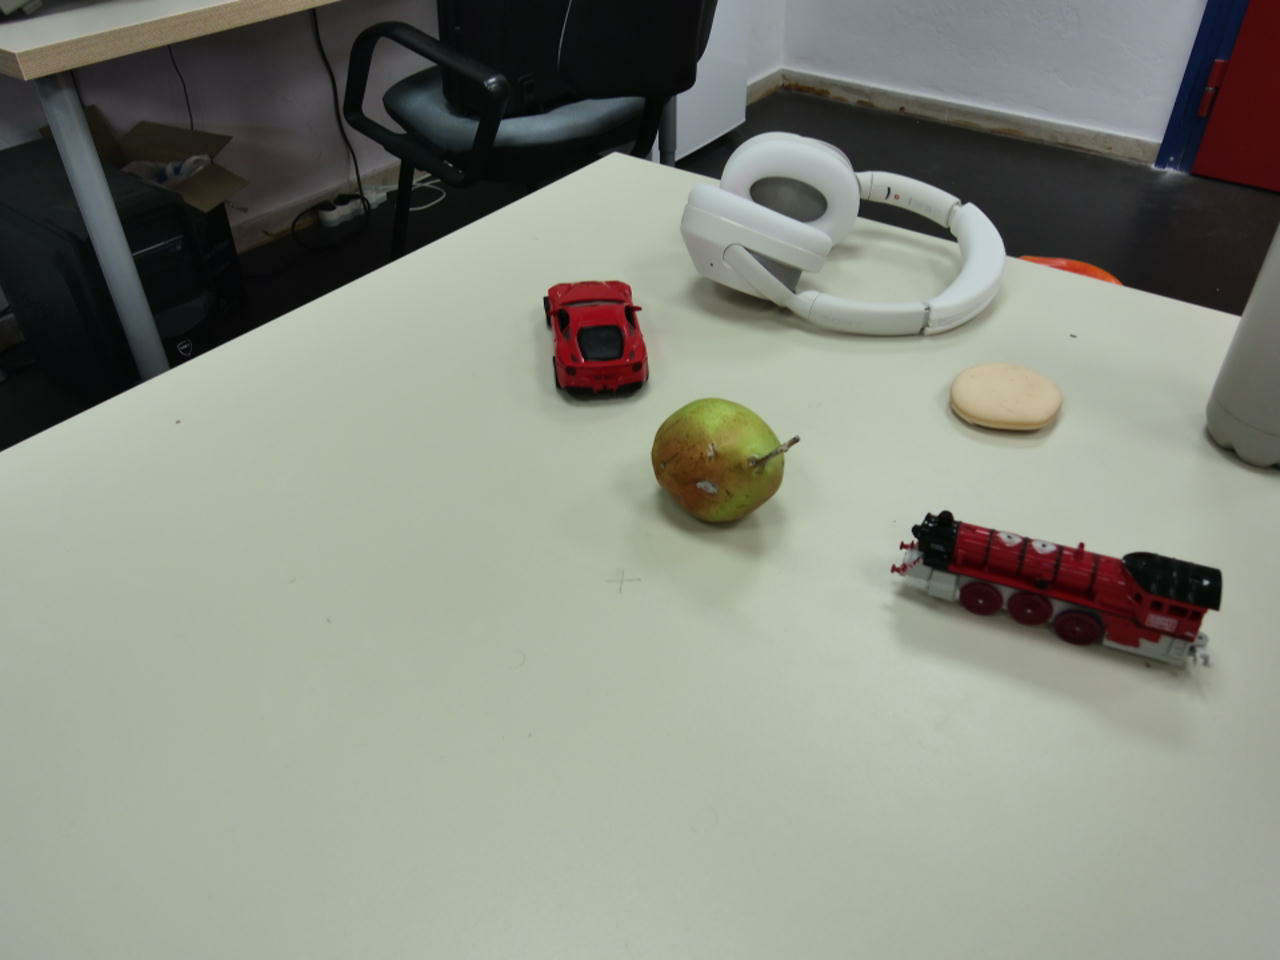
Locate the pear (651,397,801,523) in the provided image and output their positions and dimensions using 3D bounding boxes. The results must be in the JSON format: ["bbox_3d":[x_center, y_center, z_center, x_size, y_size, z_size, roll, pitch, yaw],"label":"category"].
[{"bbox_3d":[0.040,-0.012,0.515,0.068,0.069,0.070,0,37,0],"label":"pear"}]
